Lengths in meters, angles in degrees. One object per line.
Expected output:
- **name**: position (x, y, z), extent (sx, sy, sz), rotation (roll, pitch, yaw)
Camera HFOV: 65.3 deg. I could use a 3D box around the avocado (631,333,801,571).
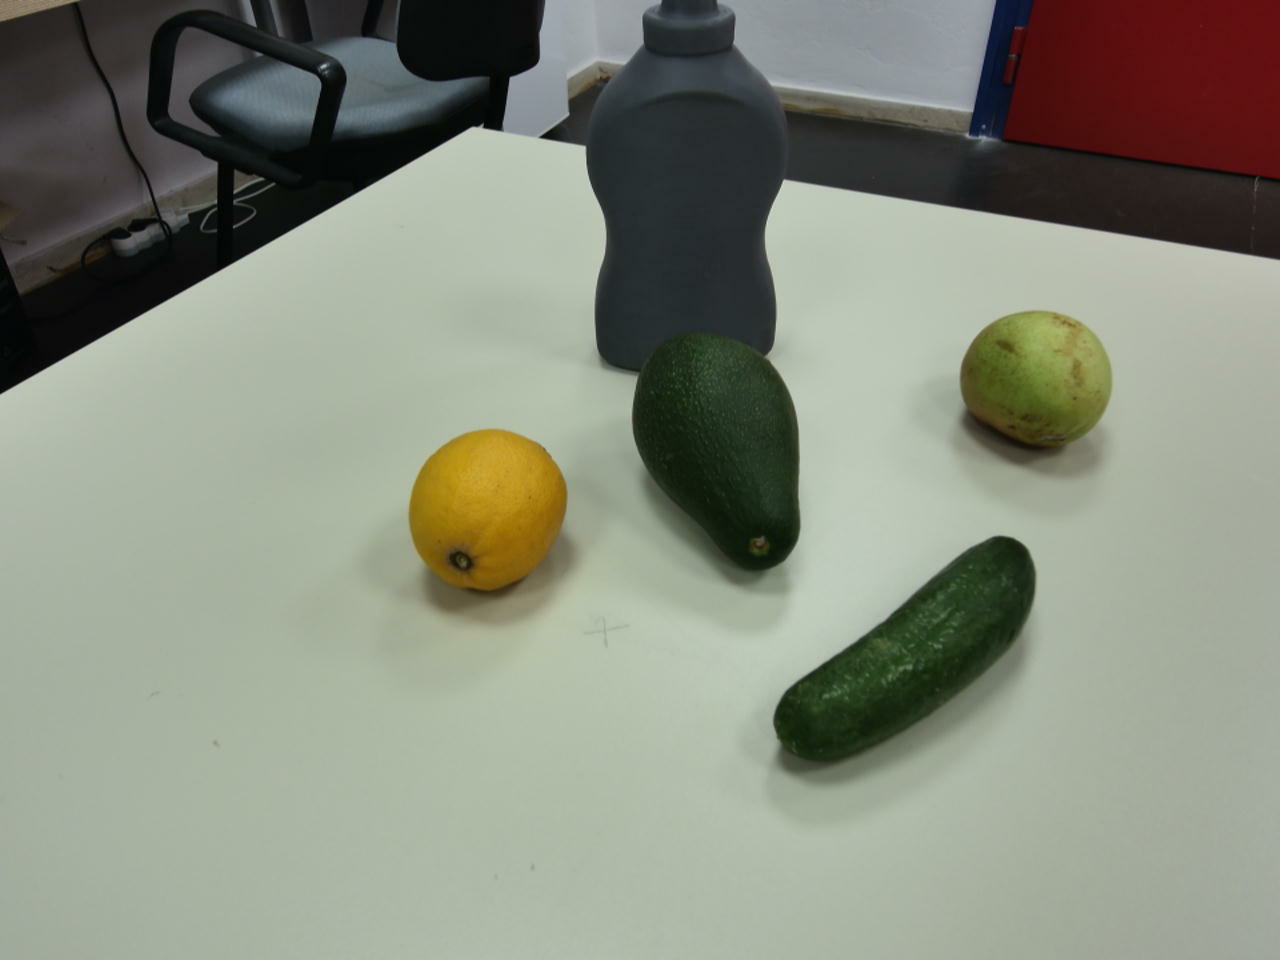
- **avocado**: position (0.031, -0.017, 0.421), extent (0.072, 0.071, 0.109), rotation (1, 37, 4)
